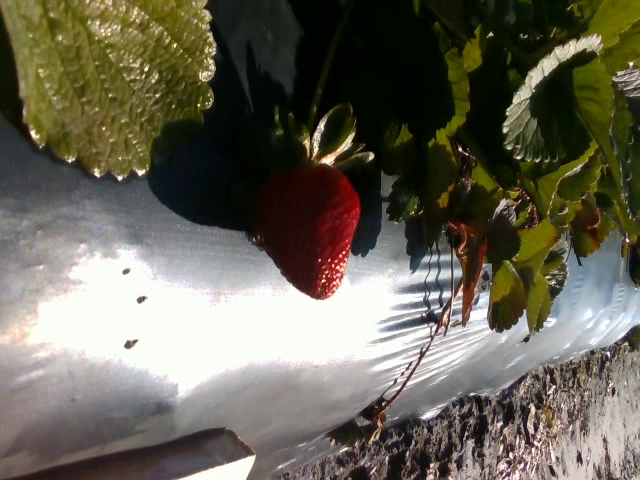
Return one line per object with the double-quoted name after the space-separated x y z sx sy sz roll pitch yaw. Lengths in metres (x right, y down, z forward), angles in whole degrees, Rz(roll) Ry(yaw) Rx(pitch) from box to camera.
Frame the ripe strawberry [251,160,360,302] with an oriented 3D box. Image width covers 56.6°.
-0.004 0.000 0.195 0.043 0.050 0.043 -9 -36 4 "ripe strawberry"
